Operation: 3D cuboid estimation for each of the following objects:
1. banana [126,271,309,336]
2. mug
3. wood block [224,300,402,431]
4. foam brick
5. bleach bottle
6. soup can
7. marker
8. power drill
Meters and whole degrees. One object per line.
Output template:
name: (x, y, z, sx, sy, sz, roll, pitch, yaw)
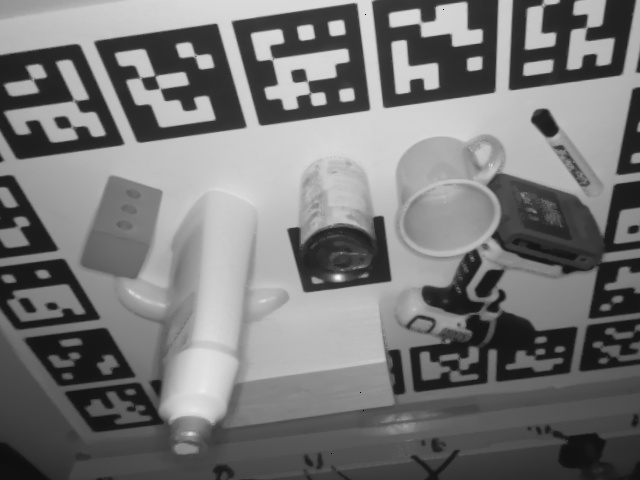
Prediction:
banana: (-0.111, 0.074, 0.755, 0.198, 0.039, 0.073, 6, 116, -5)
mug: (0.133, -0.050, 0.635, 0.094, 0.082, 0.115, 28, 121, -21)
wood block: (-0.016, 0.144, 0.791, 0.206, 0.091, 0.089, -8, 129, 4)
foam brick: (-0.177, -0.021, 0.650, 0.053, 0.078, 0.050, 18, 130, -19)
bleach bottle: (-0.091, 0.061, 0.608, 0.068, 0.252, 0.101, 15, 130, -15)
soup can: (0.027, -0.023, 0.633, 0.068, 0.103, 0.067, -1, 135, 0)
marker: (0.246, -0.090, 0.652, 0.019, 0.020, 0.121, -34, 123, 21)
power drill: (0.203, 0.040, 0.740, 0.186, 0.058, 0.184, 16, 129, -12)
